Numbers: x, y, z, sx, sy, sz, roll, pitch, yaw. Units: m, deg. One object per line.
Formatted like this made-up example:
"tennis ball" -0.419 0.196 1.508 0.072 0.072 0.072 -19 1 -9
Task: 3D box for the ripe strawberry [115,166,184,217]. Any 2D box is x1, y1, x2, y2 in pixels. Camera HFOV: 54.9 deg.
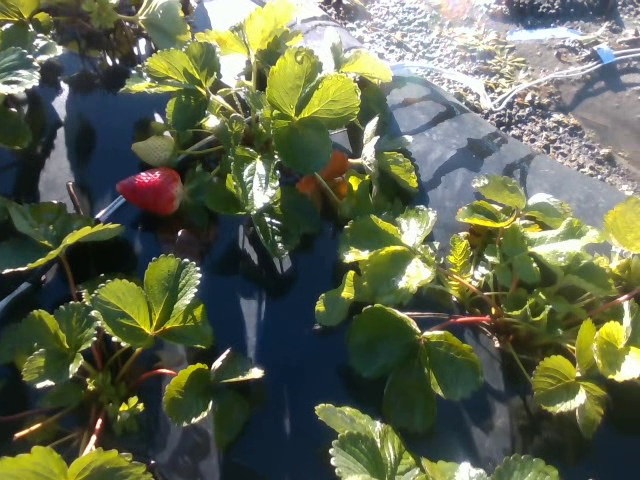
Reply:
"ripe strawberry" -0.170 -0.052 0.616 0.080 0.063 0.040 4 -4 -22
